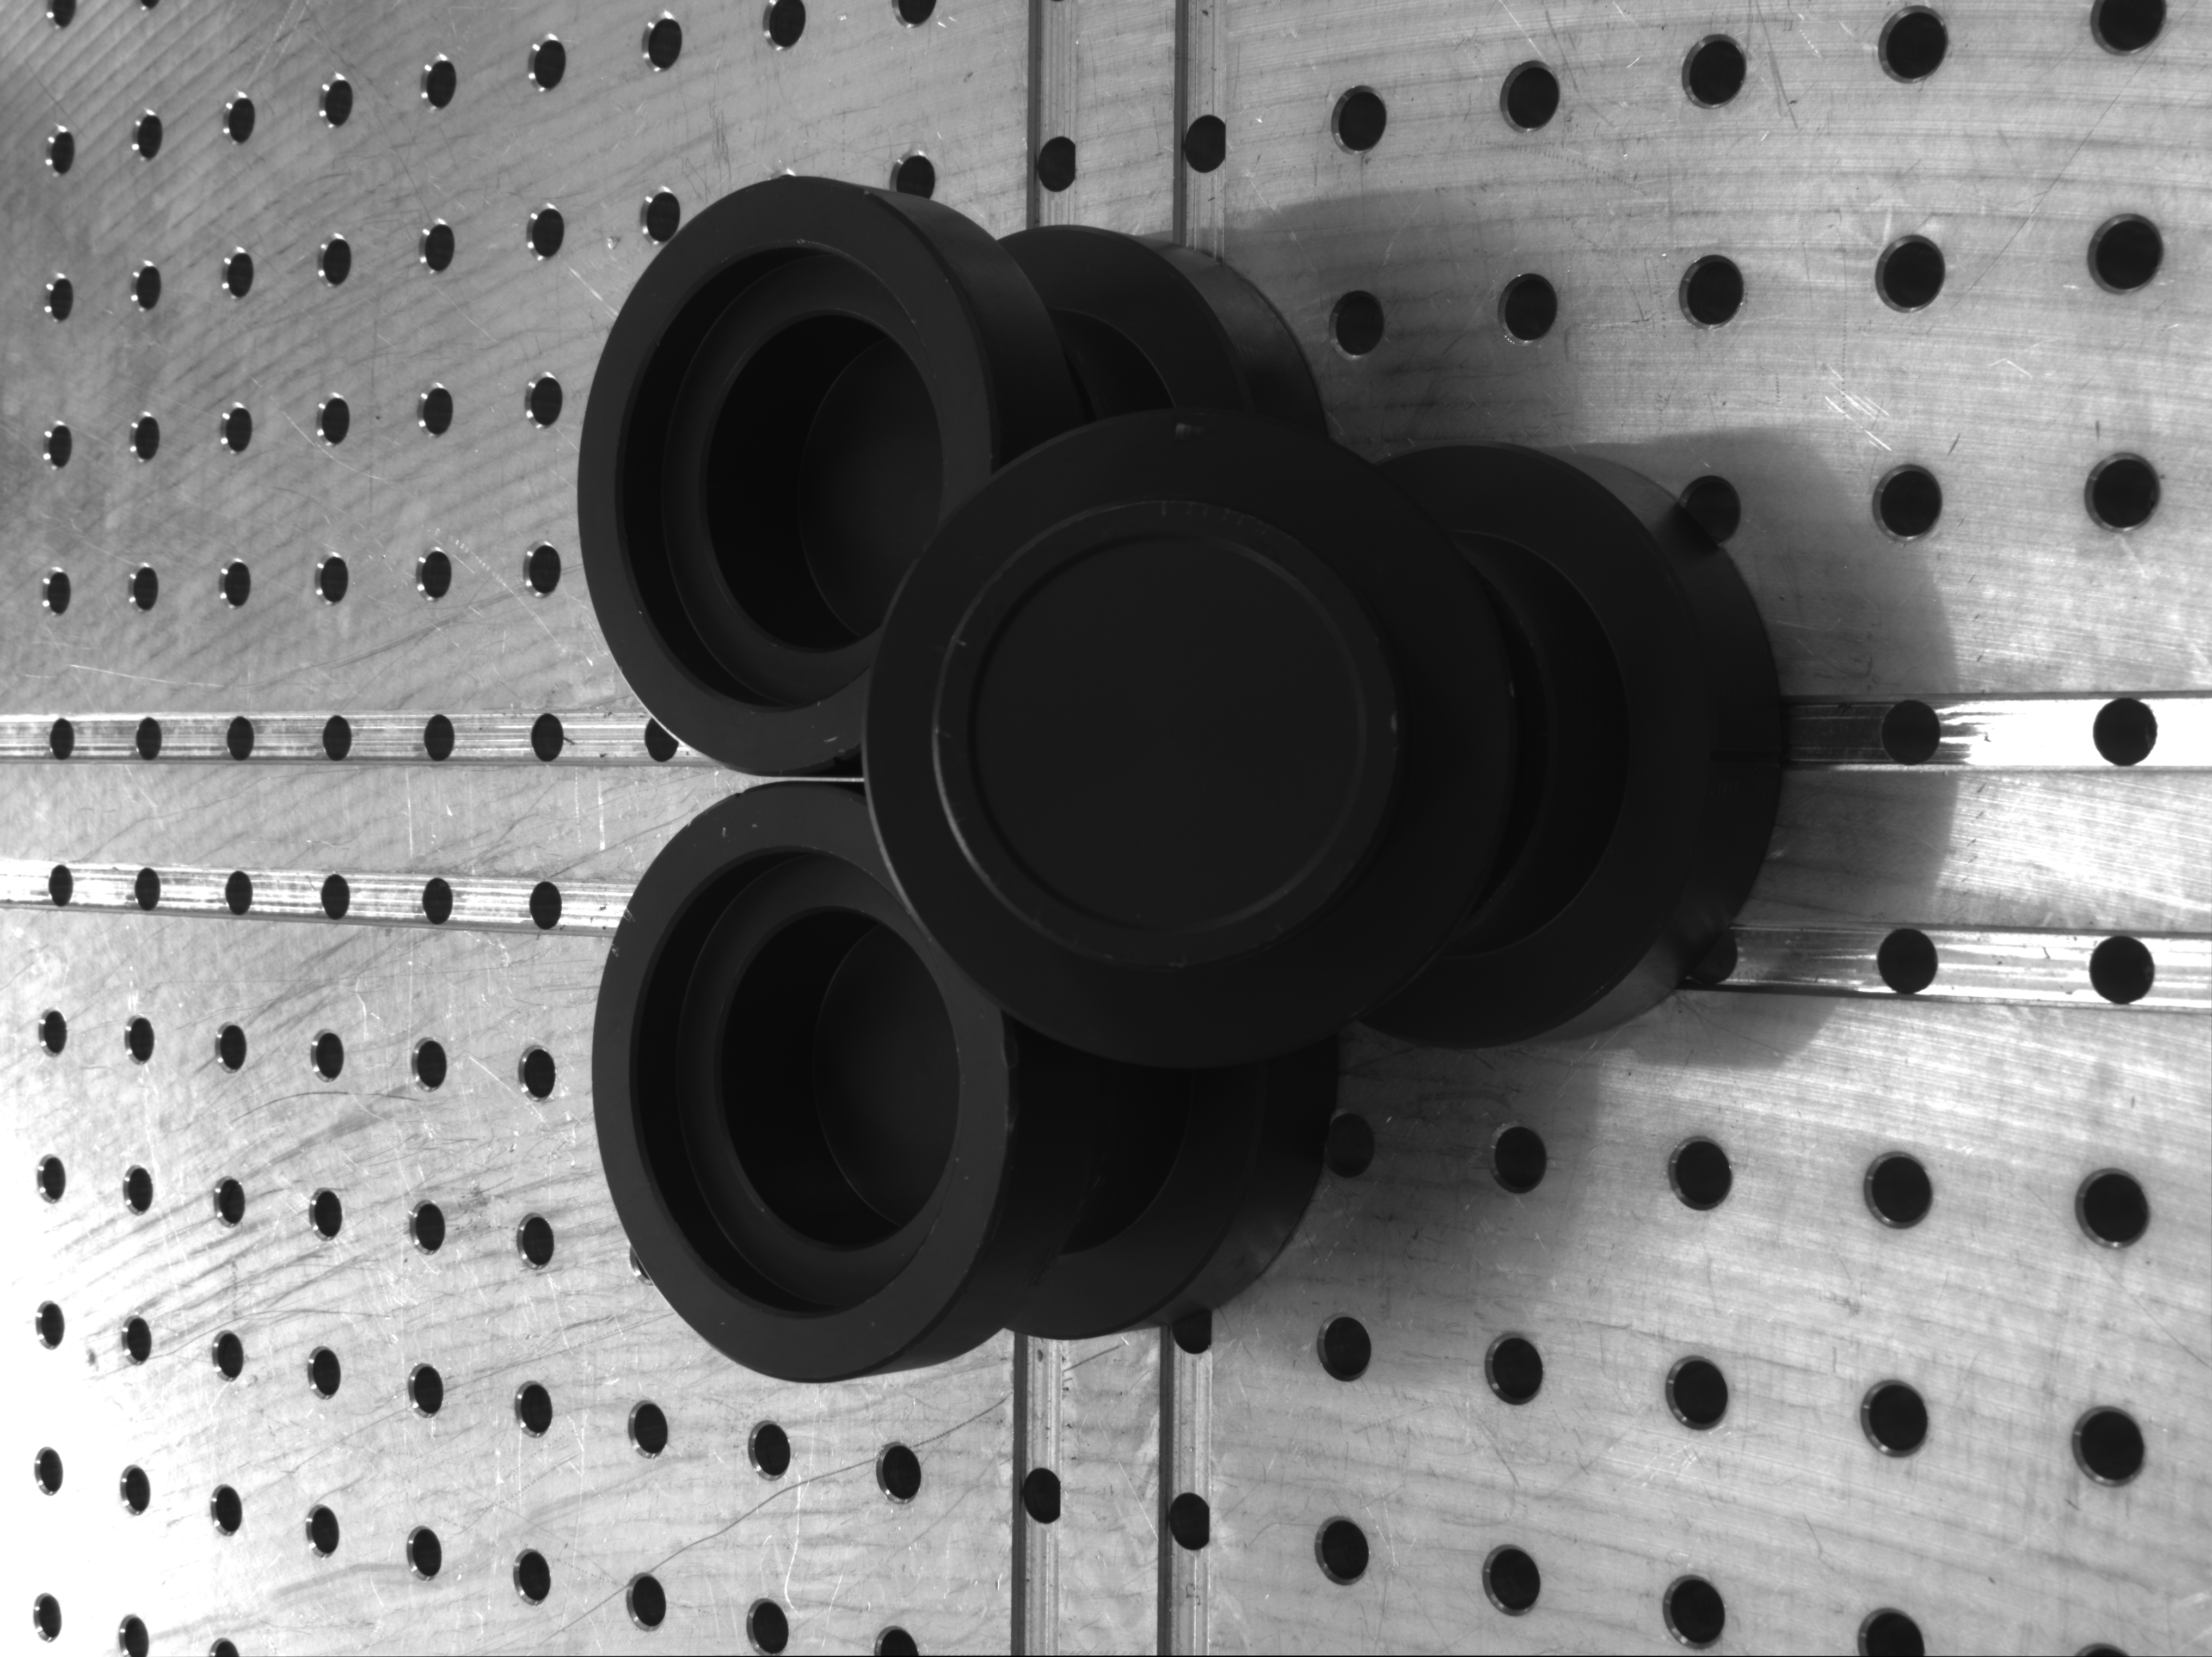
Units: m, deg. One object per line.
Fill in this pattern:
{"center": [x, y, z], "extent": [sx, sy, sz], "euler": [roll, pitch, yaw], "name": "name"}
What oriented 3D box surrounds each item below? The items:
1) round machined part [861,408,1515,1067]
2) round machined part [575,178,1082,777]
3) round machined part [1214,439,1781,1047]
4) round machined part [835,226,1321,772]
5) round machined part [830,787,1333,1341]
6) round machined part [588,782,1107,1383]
{"center": [0.011, -0.014, 0.545], "extent": [0.098, 0.042, 0.098], "euler": [0, 89, 8], "name": "round machined part"}
{"center": [-0.041, -0.057, 0.617], "extent": [0.098, 0.042, 0.098], "euler": [0, 90, 40], "name": "round machined part"}
{"center": [0.055, -0.014, 0.591], "extent": [0.098, 0.042, 0.098], "euler": [0, 90, 40], "name": "round machined part"}
{"center": [-0.012, -0.057, 0.649], "extent": [0.098, 0.042, 0.098], "euler": [0, 90, 40], "name": "round machined part"}
{"center": [-0.011, 0.041, 0.648], "extent": [0.098, 0.042, 0.098], "euler": [0, 90, 40], "name": "round machined part"}
{"center": [-0.039, 0.041, 0.615], "extent": [0.098, 0.042, 0.098], "euler": [0, 90, 40], "name": "round machined part"}
